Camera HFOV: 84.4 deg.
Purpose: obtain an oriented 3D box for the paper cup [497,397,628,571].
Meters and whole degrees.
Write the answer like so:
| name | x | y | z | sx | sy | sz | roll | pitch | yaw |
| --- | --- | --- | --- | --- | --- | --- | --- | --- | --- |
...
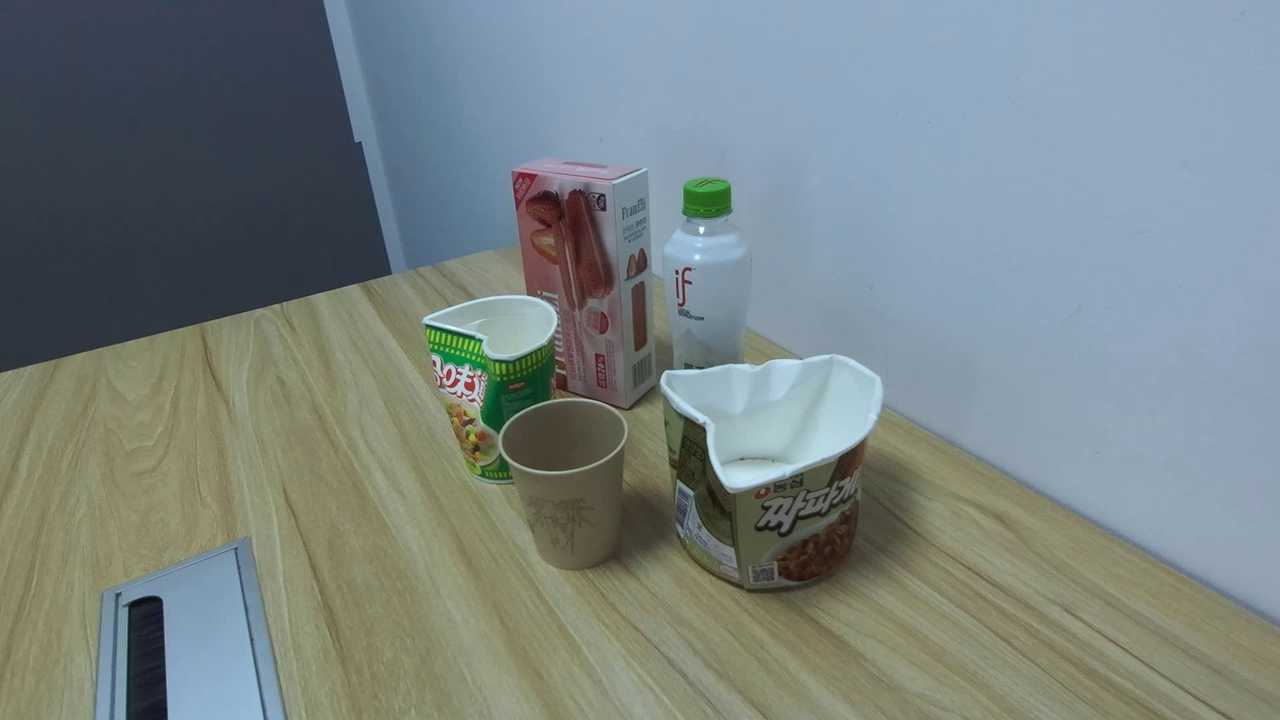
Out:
| name | x | y | z | sx | sy | sz | roll | pitch | yaw |
| --- | --- | --- | --- | --- | --- | --- | --- | --- | --- |
| paper cup | -0.042 | 0.078 | 0.427 | 0.075 | 0.082 | 0.075 | -3 | 30 | 2 |

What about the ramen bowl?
| name | x | y | z | sx | sy | sz | roll | pitch | yaw |
| --- | --- | --- | --- | --- | --- | --- | --- | --- | --- |
| ramen bowl | 0.084 | 0.060 | 0.424 | 0.134 | 0.098 | 0.113 | -15 | 32 | -18 |

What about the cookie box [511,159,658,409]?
| name | x | y | z | sx | sy | sz | roll | pitch | yaw |
| --- | --- | --- | --- | --- | --- | --- | --- | --- | --- |
| cookie box | -0.041 | -0.059 | 0.561 | 0.096 | 0.185 | 0.048 | 14 | 32 | 29 |

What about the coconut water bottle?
| name | x | y | z | sx | sy | sz | roll | pitch | yaw |
| --- | --- | --- | --- | --- | --- | --- | --- | --- | --- |
| coconut water bottle | 0.046 | -0.027 | 0.491 | 0.063 | 0.189 | 0.063 | -2 | 26 | 1 |

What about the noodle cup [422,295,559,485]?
| name | x | y | z | sx | sy | sz | roll | pitch | yaw |
| --- | --- | --- | --- | --- | --- | --- | --- | --- | --- |
| noodle cup | -0.094 | 0.022 | 0.500 | 0.087 | 0.109 | 0.093 | -16 | 34 | -19 |
